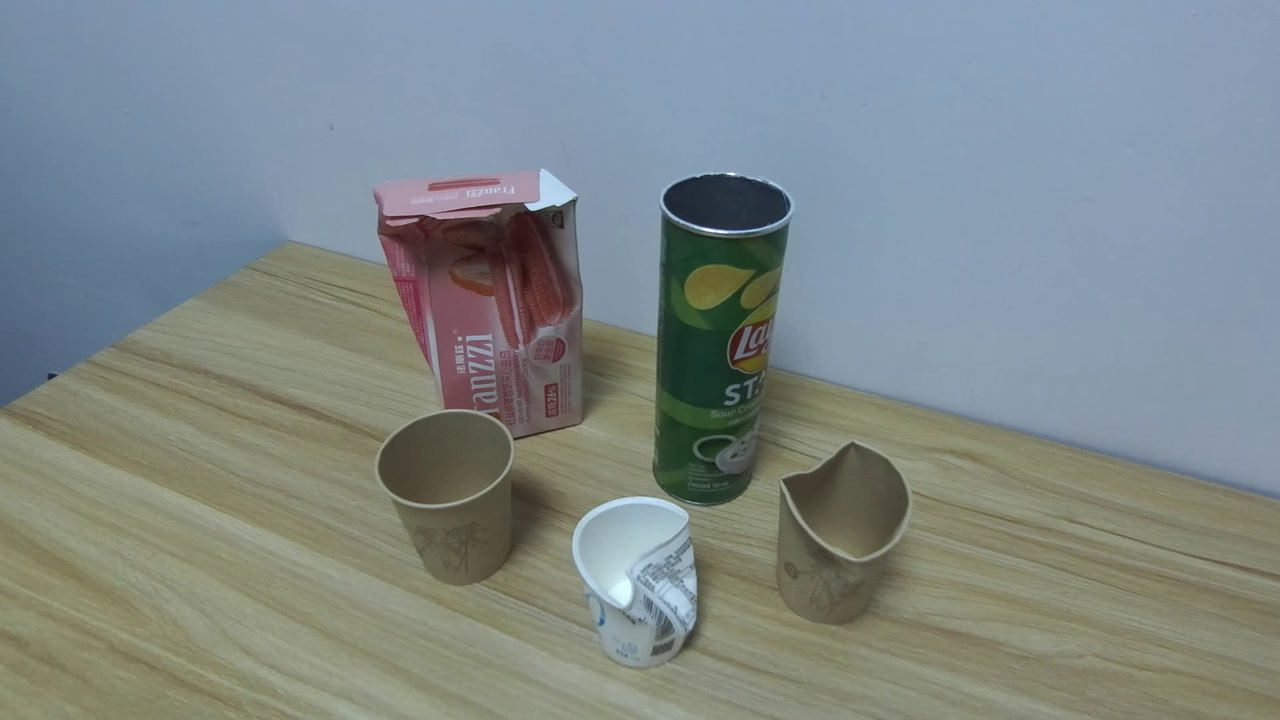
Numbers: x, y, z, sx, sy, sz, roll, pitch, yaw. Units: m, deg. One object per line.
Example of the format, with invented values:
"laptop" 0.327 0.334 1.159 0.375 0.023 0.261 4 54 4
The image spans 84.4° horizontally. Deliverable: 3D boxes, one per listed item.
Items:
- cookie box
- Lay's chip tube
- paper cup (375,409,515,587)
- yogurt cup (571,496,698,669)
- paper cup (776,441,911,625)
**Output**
"cookie box" -0.097 -0.026 0.467 0.119 0.184 0.055 -8 40 -10
"Lay's chip tube" 0.044 -0.005 0.422 0.071 0.203 0.071 0 39 0
"paper cup" -0.106 0.084 0.411 0.075 0.082 0.075 1 39 0
"yogurt cup" -0.001 0.120 0.376 0.067 0.070 0.067 -1 40 1
"paper cup" 0.111 0.101 0.389 0.072 0.084 0.066 -23 44 -25
